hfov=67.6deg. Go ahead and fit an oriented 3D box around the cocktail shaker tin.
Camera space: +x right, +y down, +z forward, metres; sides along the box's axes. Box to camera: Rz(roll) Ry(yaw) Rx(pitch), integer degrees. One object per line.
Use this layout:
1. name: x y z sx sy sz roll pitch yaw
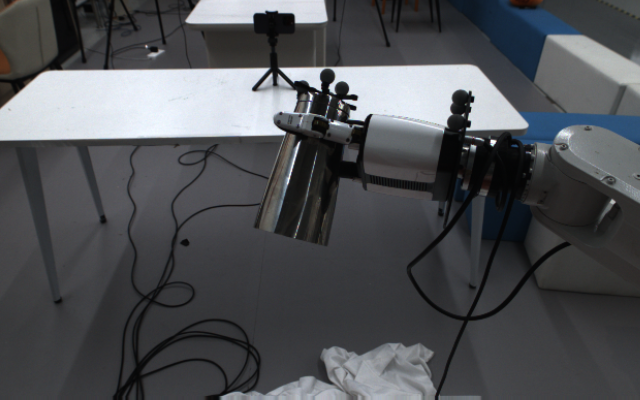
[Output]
1. cocktail shaker tin: -0.013 -0.040 0.587 0.093 0.170 0.093 15 -5 1
